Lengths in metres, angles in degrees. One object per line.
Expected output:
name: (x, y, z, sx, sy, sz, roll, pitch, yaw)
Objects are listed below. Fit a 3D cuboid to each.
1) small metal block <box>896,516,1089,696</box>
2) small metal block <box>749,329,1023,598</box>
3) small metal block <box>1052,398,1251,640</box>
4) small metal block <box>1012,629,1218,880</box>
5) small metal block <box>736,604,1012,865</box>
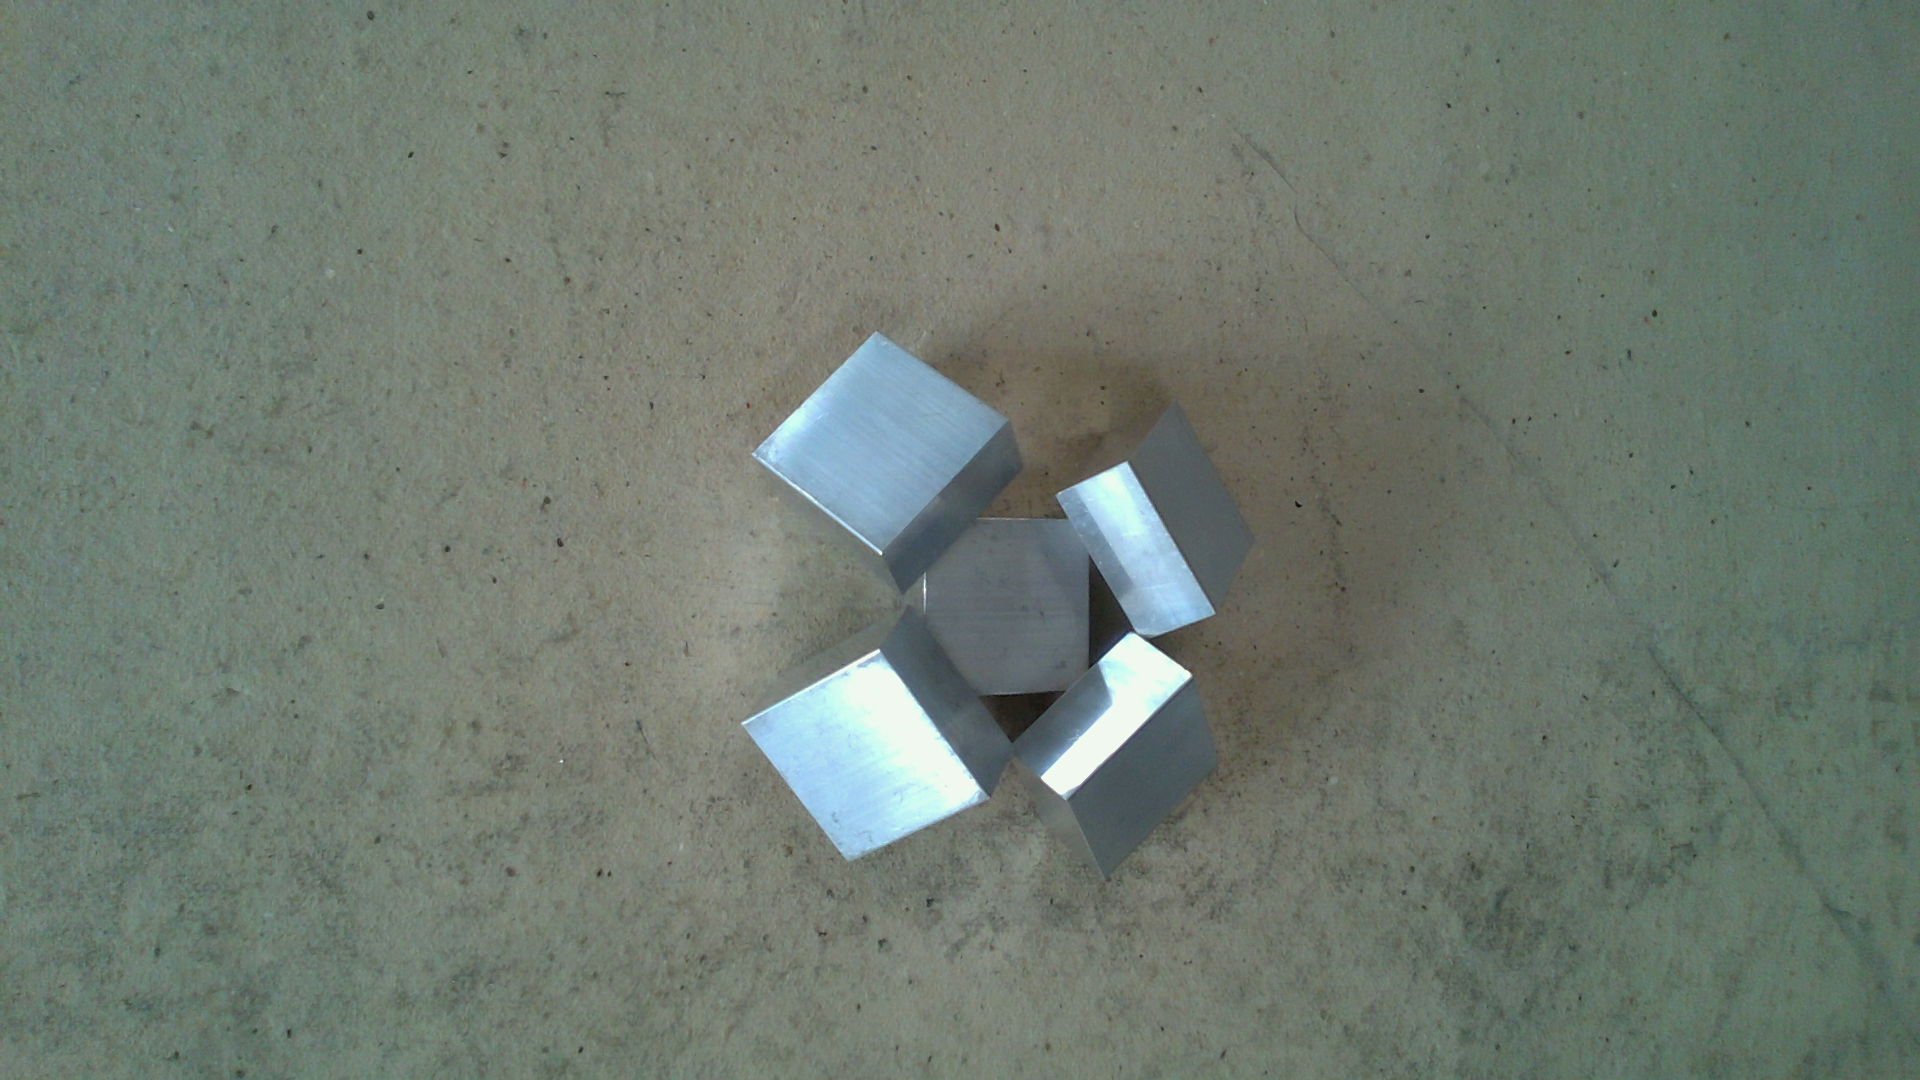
small metal block: (0.009, 0.018, 0.397, 0.050, 0.025, 0.050, 0, 90, -21)
small metal block: (-0.019, -0.021, 0.373, 0.050, 0.025, 0.050, 36, 74, 26)
small metal block: (0.057, -0.007, 0.402, 0.050, 0.025, 0.050, 59, 32, -11)
small metal block: (0.045, 0.062, 0.397, 0.050, 0.025, 0.050, -42, 141, -15)
small metal block: (-0.023, 0.053, 0.372, 0.050, 0.025, 0.050, -29, 103, 27)
